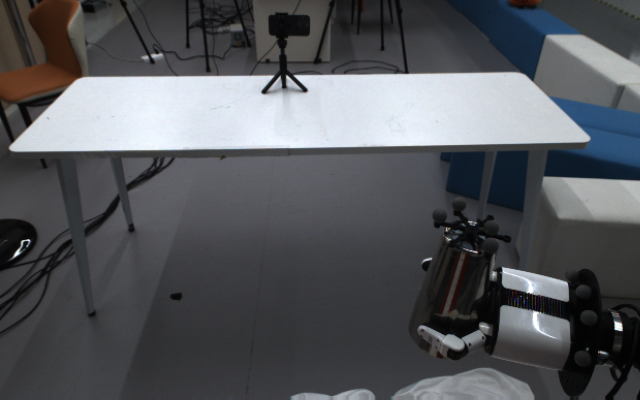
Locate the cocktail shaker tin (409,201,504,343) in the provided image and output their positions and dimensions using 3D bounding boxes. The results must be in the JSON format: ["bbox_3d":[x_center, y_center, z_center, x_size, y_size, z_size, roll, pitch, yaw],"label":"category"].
[{"bbox_3d":[0.174,0.112,0.623,0.093,0.170,0.093,3,34,-2],"label":"cocktail shaker tin"}]
